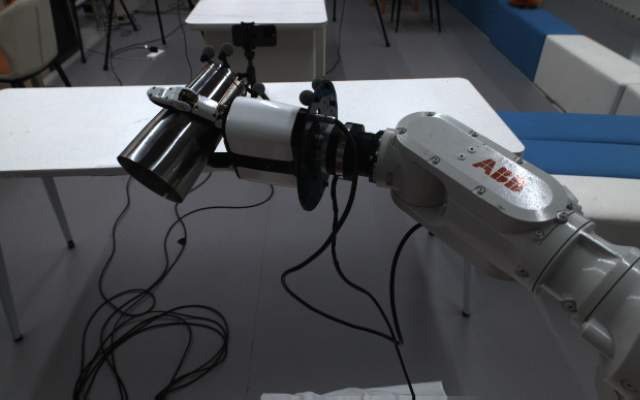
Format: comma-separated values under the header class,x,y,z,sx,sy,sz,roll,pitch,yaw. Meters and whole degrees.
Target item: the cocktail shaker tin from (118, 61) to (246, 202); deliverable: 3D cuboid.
class,x,y,z,sx,sy,sz,roll,pitch,yaw
cocktail shaker tin,-0.164,-0.094,0.616,0.093,0.093,0.170,20,67,24
